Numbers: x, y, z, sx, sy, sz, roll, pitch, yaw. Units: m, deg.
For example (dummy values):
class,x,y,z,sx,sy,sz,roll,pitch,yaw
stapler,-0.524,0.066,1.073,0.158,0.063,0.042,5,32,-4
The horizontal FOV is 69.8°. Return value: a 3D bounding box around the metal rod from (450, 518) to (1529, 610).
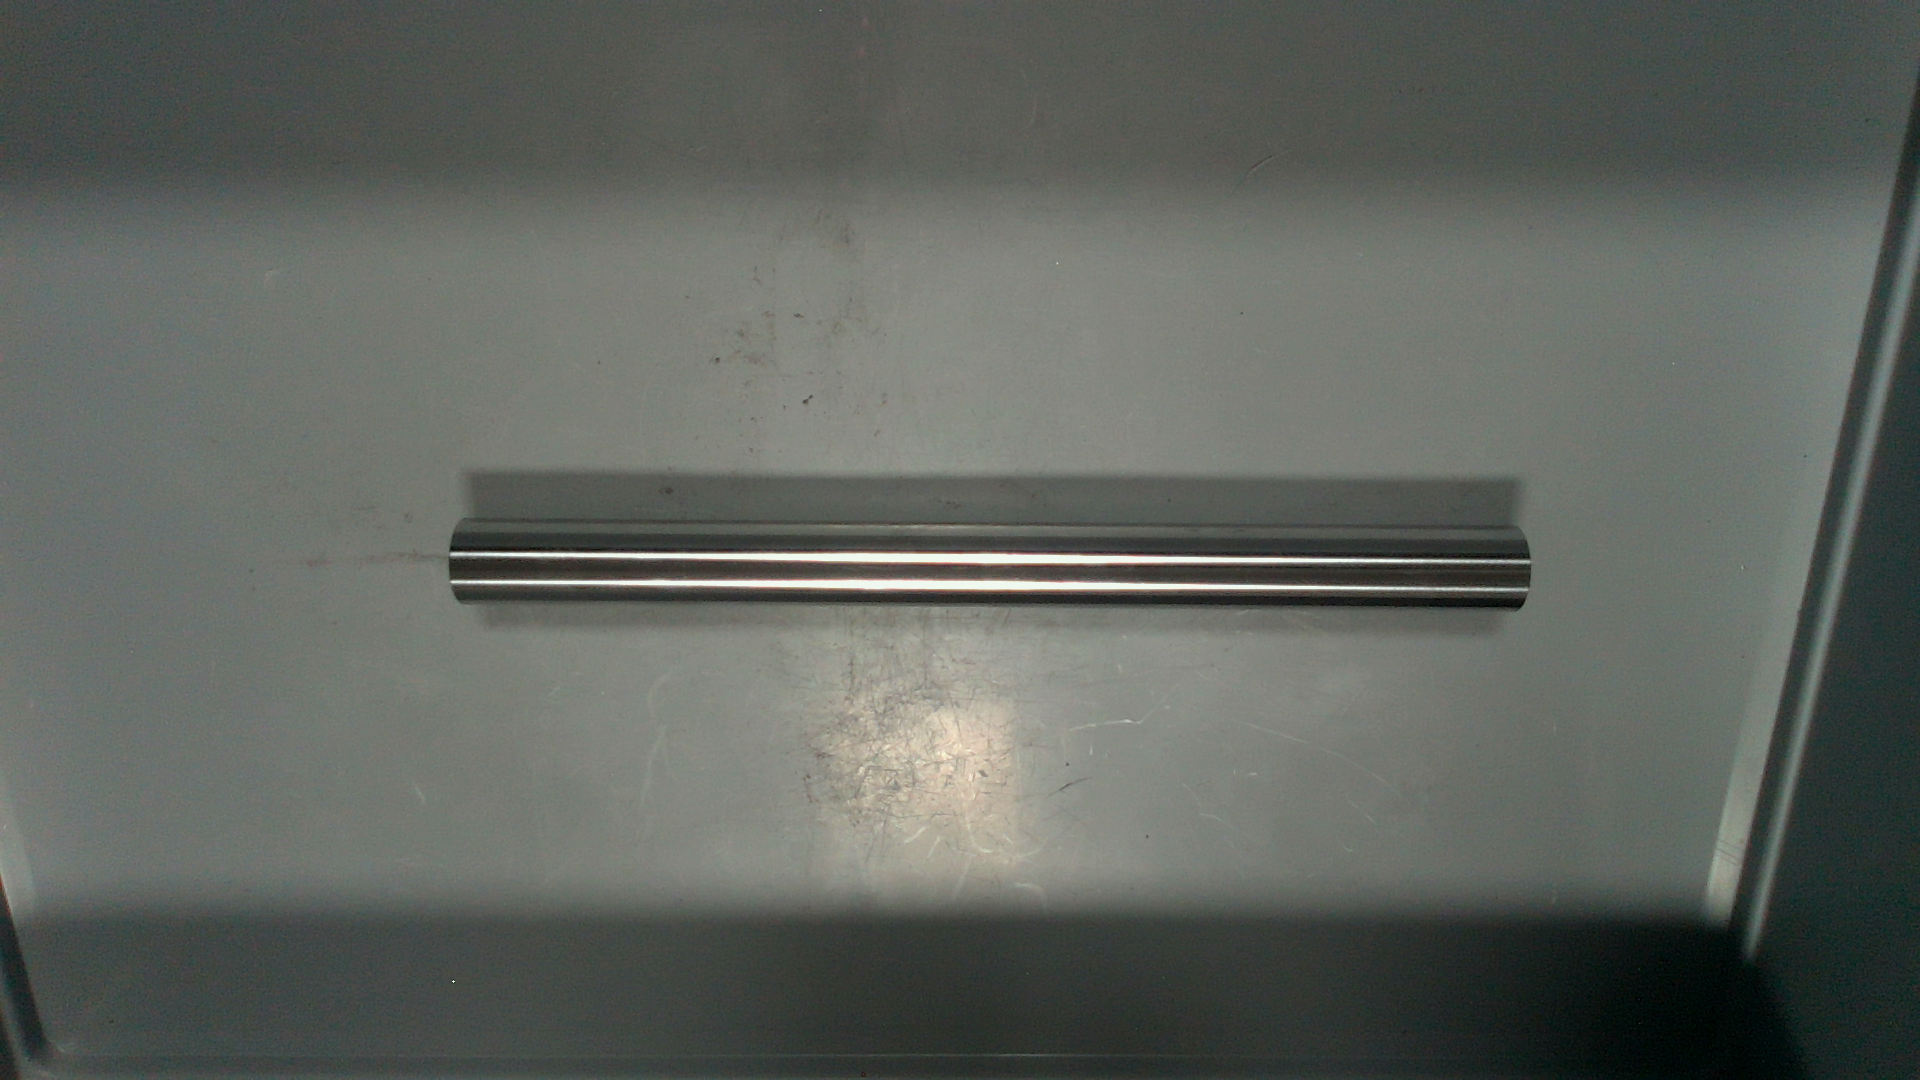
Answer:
class,x,y,z,sx,sy,sz,roll,pitch,yaw
metal rod,0.009,0.007,0.395,0.300,0.025,0.025,0,110,0
